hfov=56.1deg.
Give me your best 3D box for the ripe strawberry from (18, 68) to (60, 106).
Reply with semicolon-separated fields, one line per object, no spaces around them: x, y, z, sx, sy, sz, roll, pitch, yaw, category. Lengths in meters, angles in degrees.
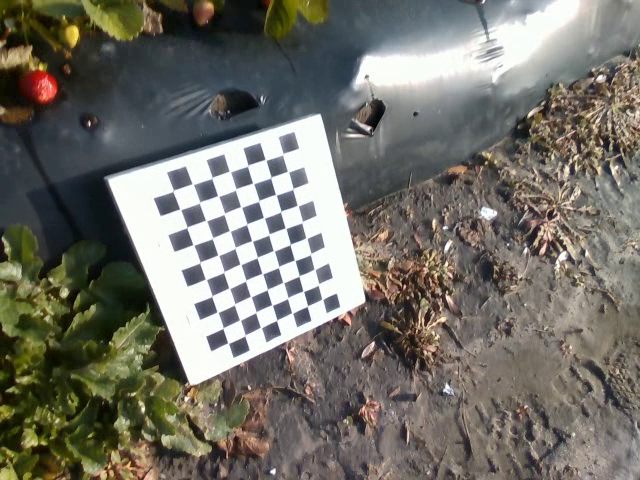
-0.266;-0.149;0.589;0.046;0.054;0.038;0;-38;-28;ripe strawberry
